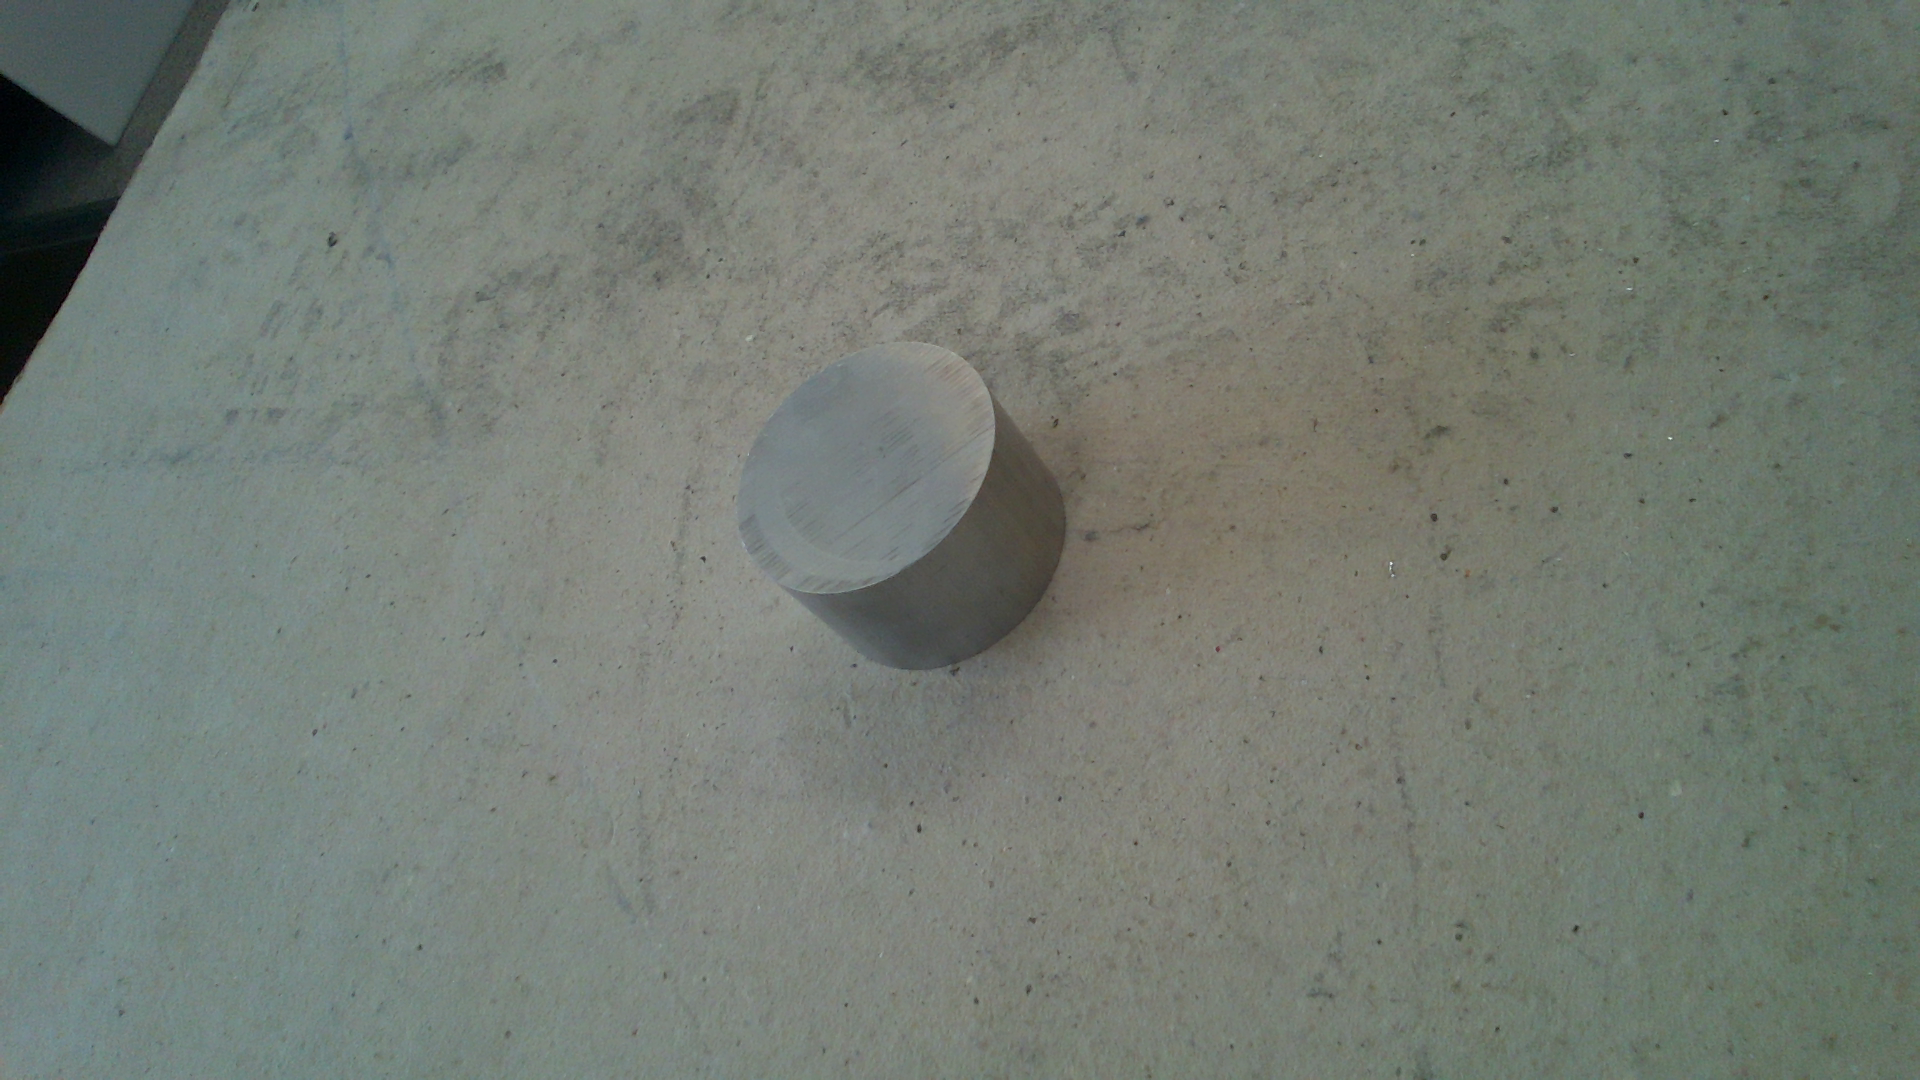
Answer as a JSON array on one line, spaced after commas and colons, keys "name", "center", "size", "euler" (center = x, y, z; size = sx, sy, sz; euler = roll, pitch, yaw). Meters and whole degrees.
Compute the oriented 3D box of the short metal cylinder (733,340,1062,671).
[{"name": "short metal cylinder", "center": [-0.017, -0.010, 0.393], "size": [0.080, 0.050, 0.080], "euler": [-13, 56, 20]}]
